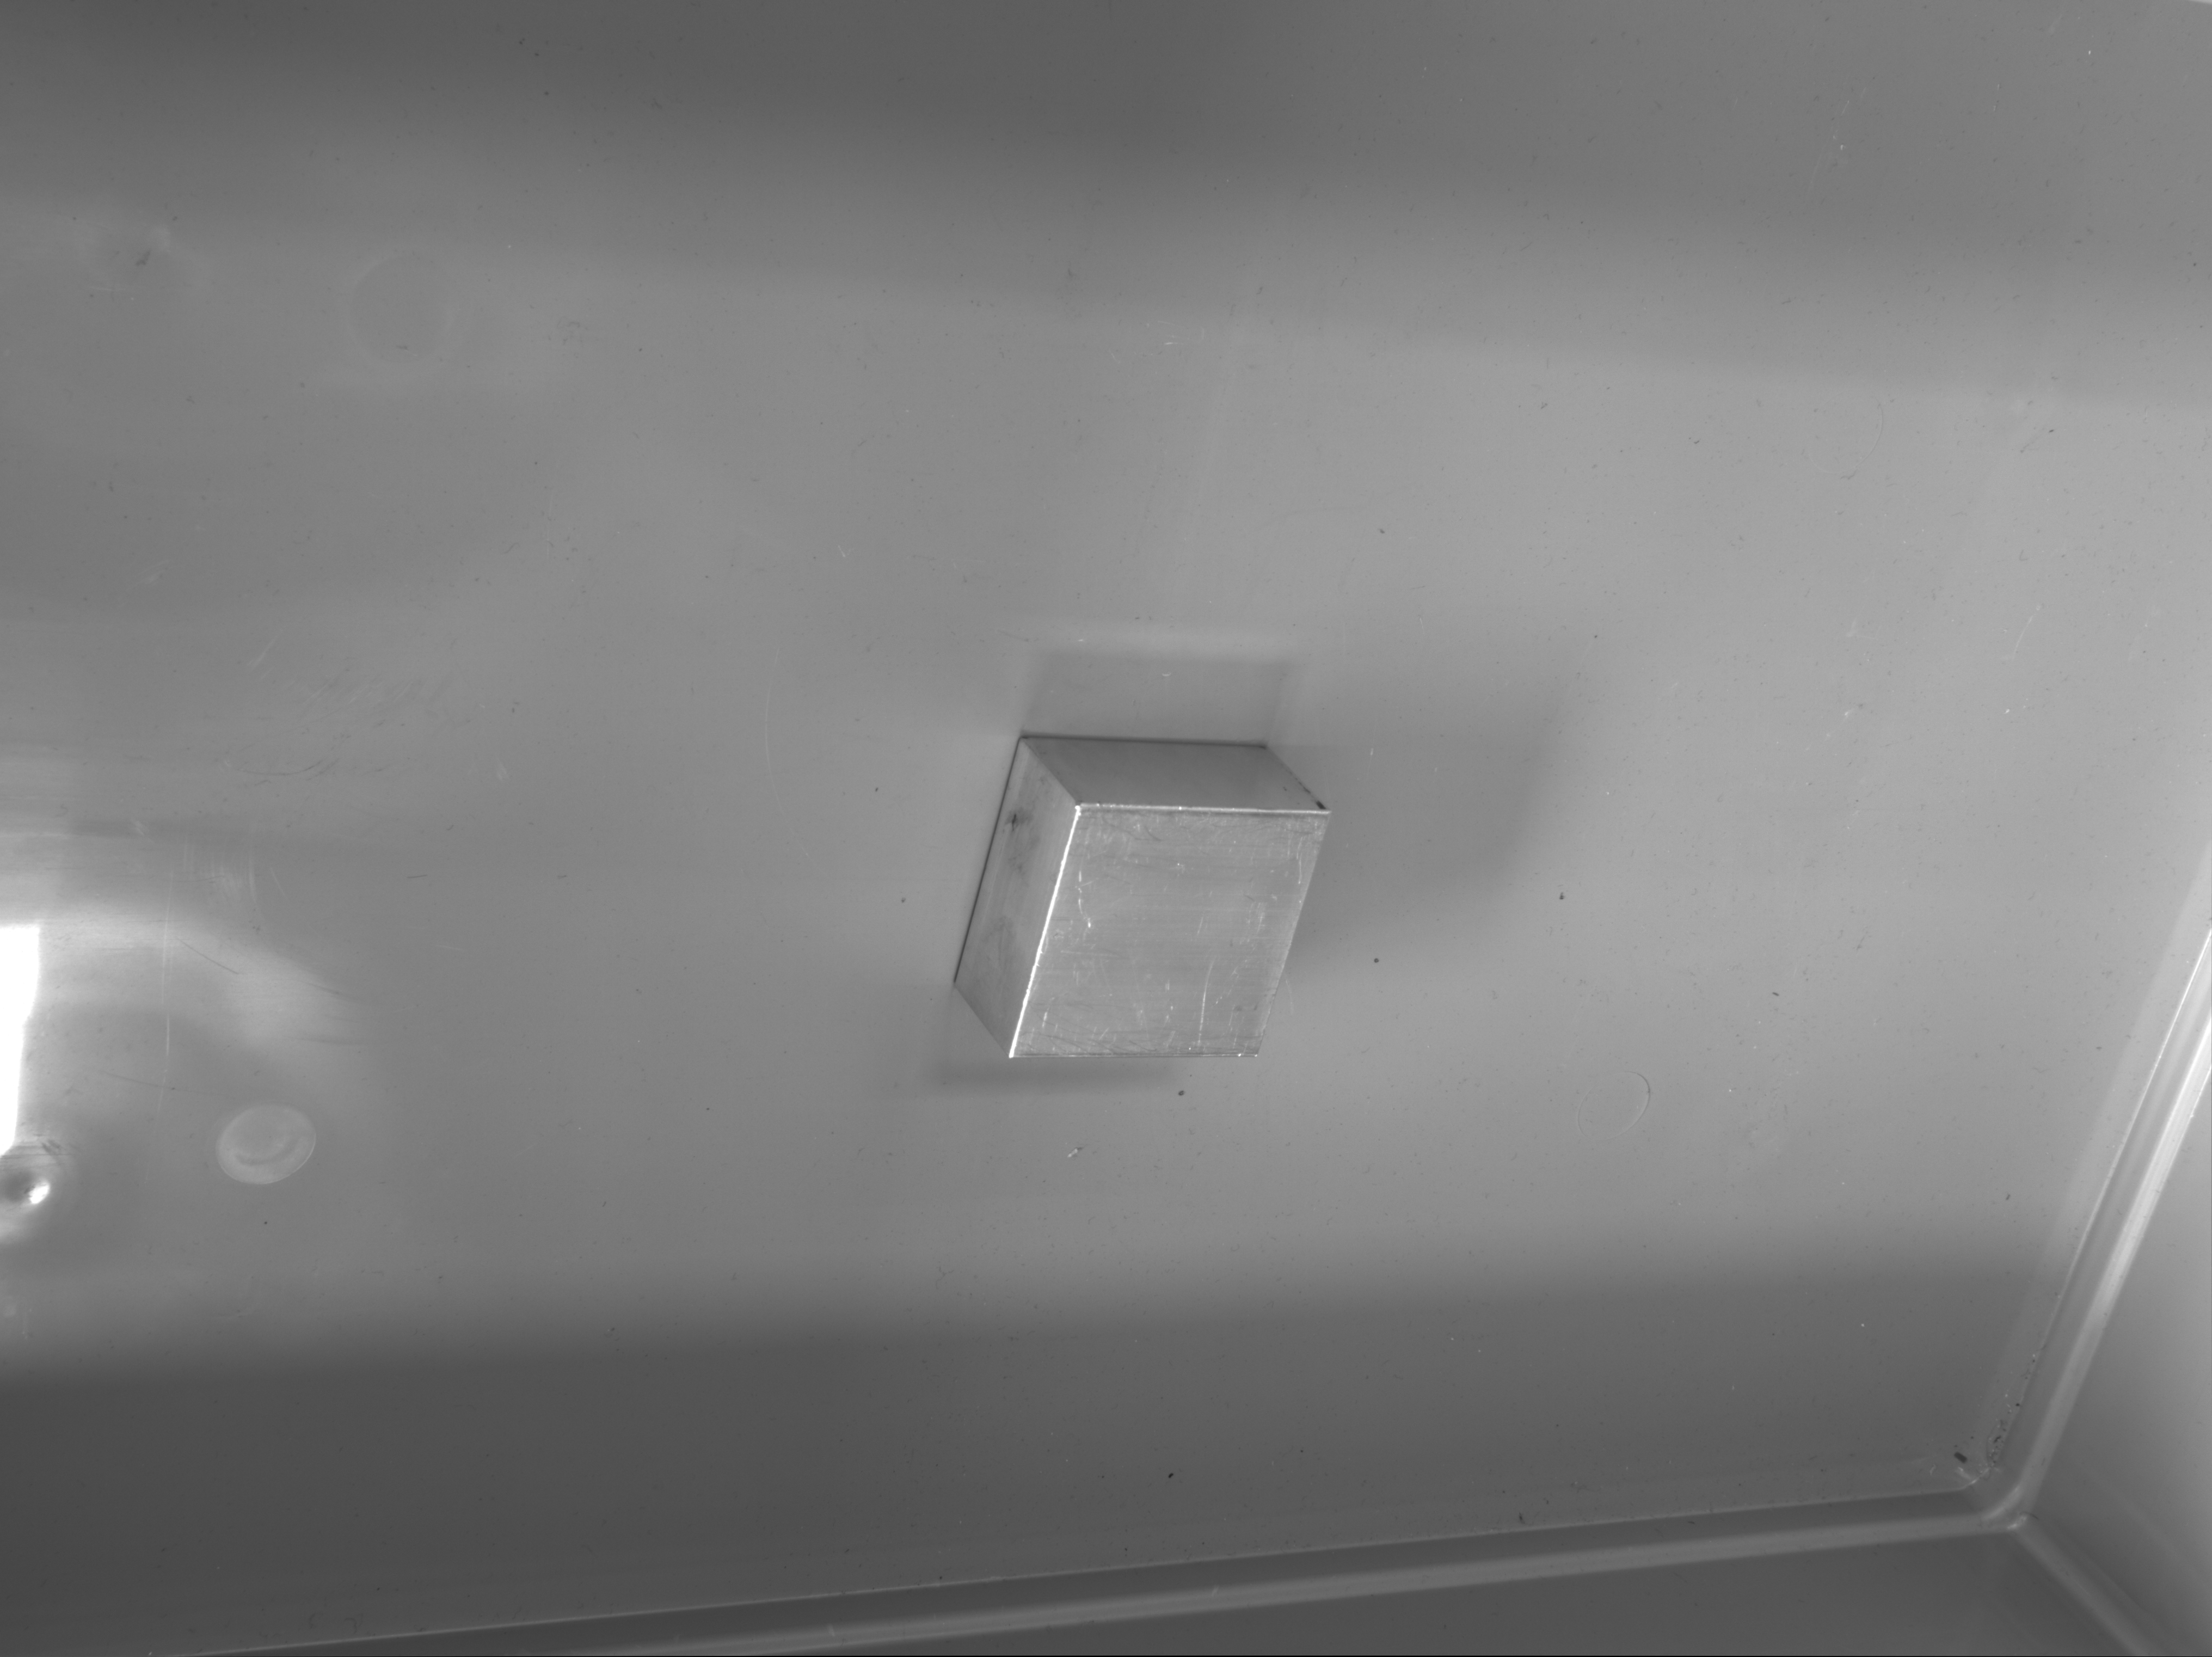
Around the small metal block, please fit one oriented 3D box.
[{"bbox_3d":[0.006,0.013,0.644,0.050,0.025,0.050,2,117,-29],"label":"small metal block"}]
